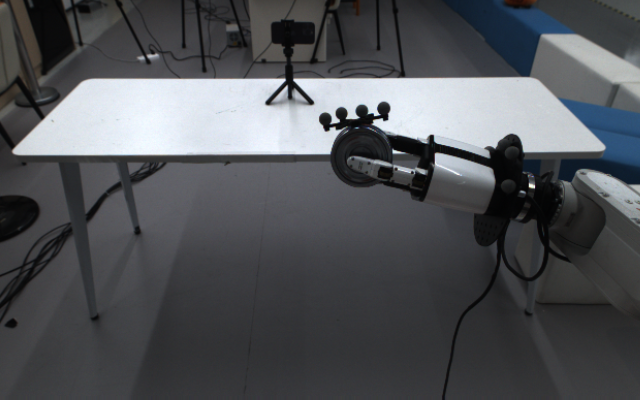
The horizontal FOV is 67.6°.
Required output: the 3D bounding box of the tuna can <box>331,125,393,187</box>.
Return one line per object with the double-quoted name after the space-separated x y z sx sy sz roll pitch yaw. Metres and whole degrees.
0.061 -0.055 0.665 0.085 0.085 0.034 6 18 5 "tuna can"
